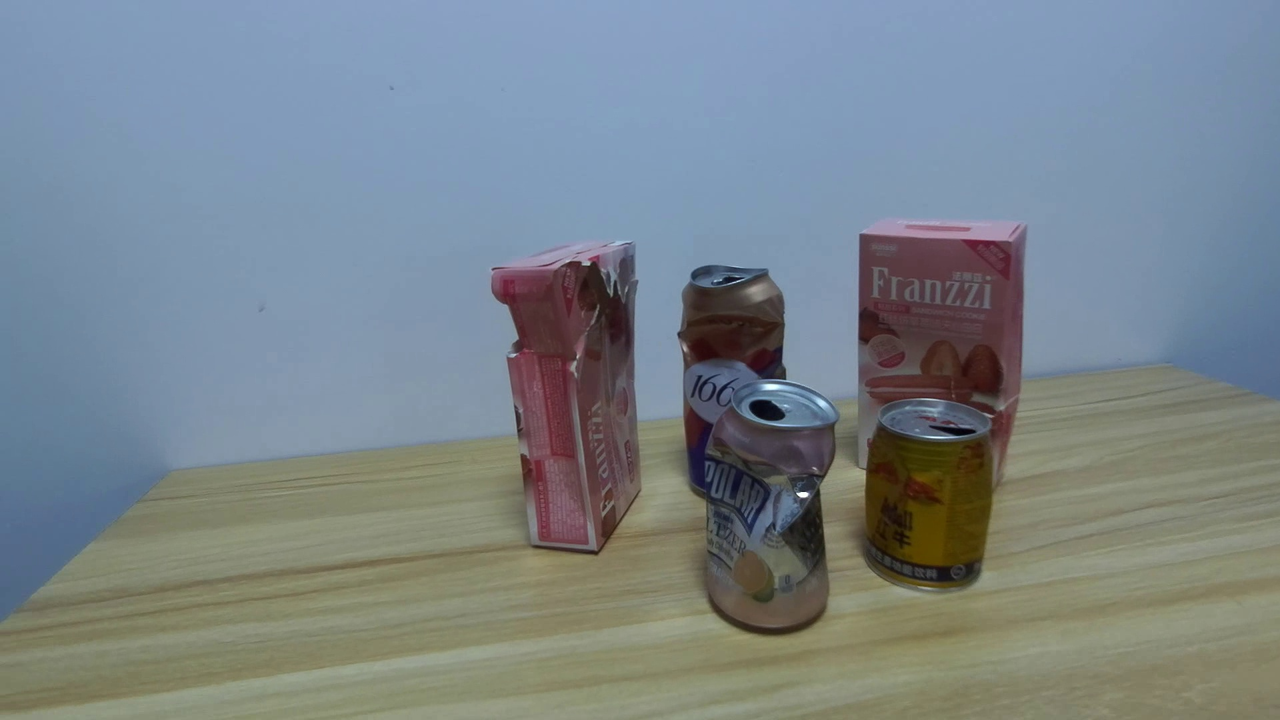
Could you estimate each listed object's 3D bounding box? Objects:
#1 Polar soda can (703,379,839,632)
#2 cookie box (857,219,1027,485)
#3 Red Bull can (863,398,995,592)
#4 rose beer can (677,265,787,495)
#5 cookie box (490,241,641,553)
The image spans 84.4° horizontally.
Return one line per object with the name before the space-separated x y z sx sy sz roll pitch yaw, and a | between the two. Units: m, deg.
Polar soda can | 0.073 0.078 0.371 0.067 0.122 0.070 -3 19 -18
cookie box | 0.211 0.000 0.493 0.104 0.188 0.049 10 28 35
Red Bull can | 0.165 0.076 0.406 0.069 0.092 0.069 -3 17 1
rose beer can | 0.065 0.017 0.492 0.073 0.162 0.068 -4 10 2
cookie box | -0.035 0.021 0.461 0.059 0.186 0.105 2 19 21
